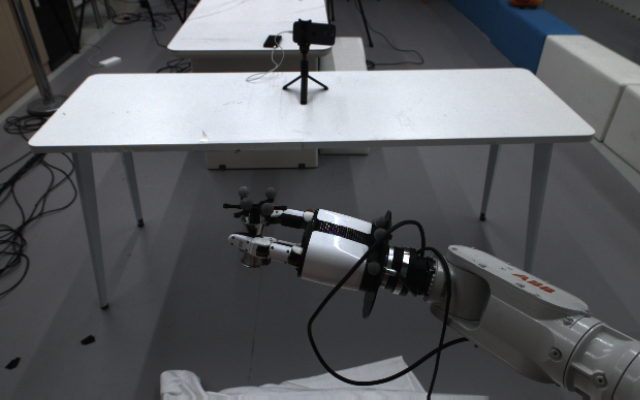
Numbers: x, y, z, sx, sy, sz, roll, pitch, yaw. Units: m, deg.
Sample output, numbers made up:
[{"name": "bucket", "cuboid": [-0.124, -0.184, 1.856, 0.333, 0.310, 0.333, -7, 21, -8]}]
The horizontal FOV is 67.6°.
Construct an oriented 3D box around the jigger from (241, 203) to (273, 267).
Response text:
[{"name": "jigger", "cuboid": [-0.093, 0.056, 0.702, 0.043, 0.071, 0.043, 2, 20, -1]}]
